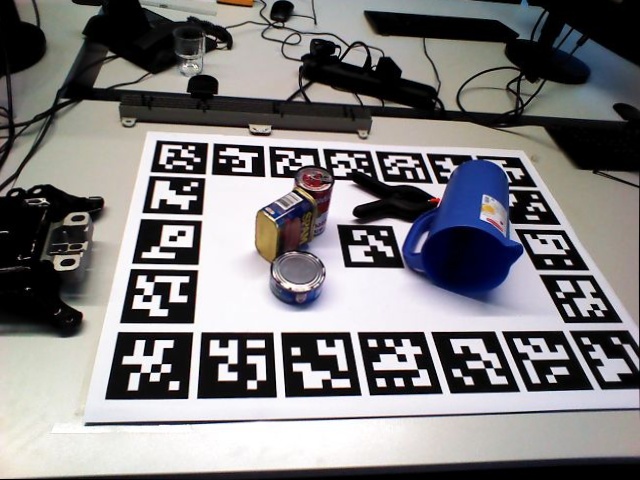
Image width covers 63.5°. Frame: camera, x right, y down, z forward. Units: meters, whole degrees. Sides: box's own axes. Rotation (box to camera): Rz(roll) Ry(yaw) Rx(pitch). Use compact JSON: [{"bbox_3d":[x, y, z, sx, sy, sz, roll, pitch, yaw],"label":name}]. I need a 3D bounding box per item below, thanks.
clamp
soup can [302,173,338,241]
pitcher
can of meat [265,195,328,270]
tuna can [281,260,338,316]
[{"bbox_3d":[0.143,-0.064,0.974,0.165,0.037,0.121,5,41,-10],"label":"clamp"},{"bbox_3d":[0.000,-0.054,0.880,0.068,0.102,0.067,3,47,-4],"label":"soup can"},{"bbox_3d":[0.274,-0.026,0.871,0.190,0.133,0.241,-1,34,21],"label":"pitcher"},{"bbox_3d":[-0.039,-0.009,0.823,0.083,0.102,0.058,-31,59,-29],"label":"can of meat"},{"bbox_3d":[-0.017,0.074,0.796,0.086,0.034,0.085,5,47,-5],"label":"tuna can"}]
